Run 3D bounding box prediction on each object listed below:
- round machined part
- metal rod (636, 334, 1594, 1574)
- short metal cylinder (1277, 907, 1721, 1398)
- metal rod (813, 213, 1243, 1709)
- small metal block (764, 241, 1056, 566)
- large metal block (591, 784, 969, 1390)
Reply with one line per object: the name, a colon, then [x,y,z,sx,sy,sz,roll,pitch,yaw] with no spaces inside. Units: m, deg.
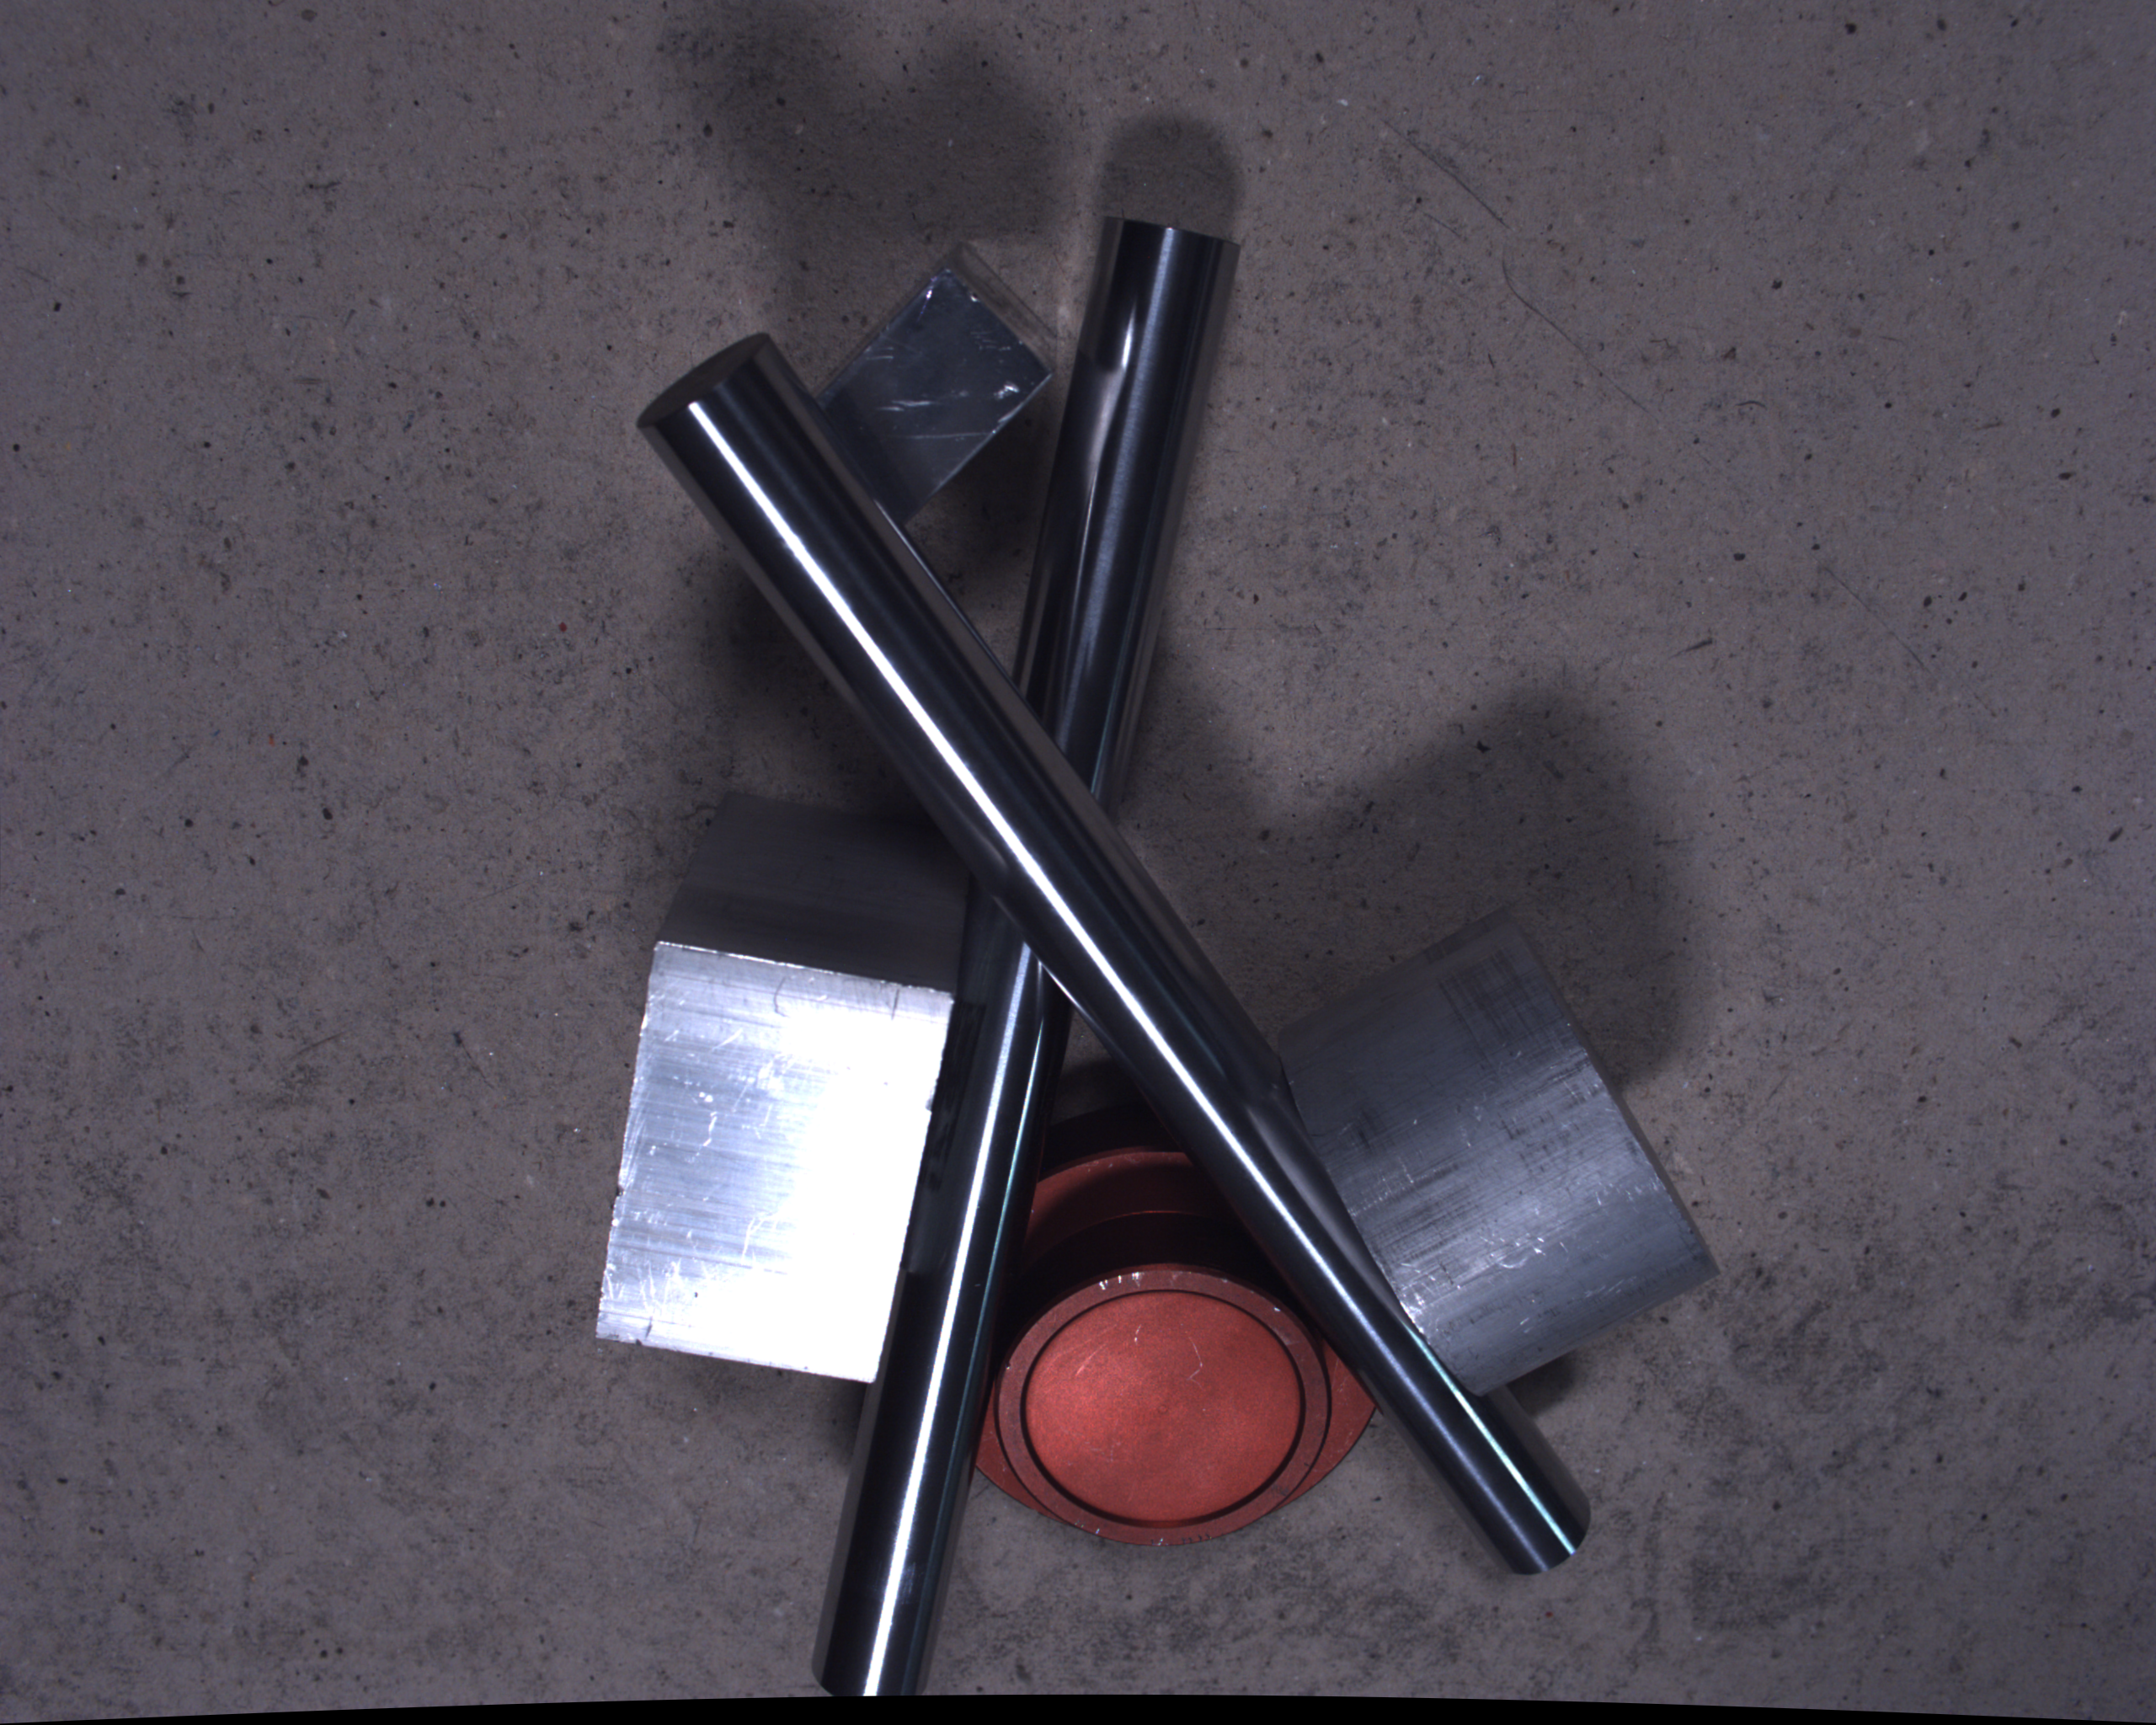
round machined part: [0.017,0.104,0.441,0.099,0.042,0.097,0,110,-1]
metal rod: [0.021,0.035,0.388,0.025,0.025,0.299,-31,116,10]
short metal cylinder: [0.081,0.056,0.404,0.050,0.080,0.080,-30,108,10]
metal rod: [-0.013,0.029,0.405,0.025,0.025,0.298,11,104,-5]
small metal block: [-0.030,-0.080,0.367,0.050,0.050,0.025,-43,105,14]
large metal block: [-0.054,0.039,0.396,0.050,0.080,0.079,11,110,-5]
